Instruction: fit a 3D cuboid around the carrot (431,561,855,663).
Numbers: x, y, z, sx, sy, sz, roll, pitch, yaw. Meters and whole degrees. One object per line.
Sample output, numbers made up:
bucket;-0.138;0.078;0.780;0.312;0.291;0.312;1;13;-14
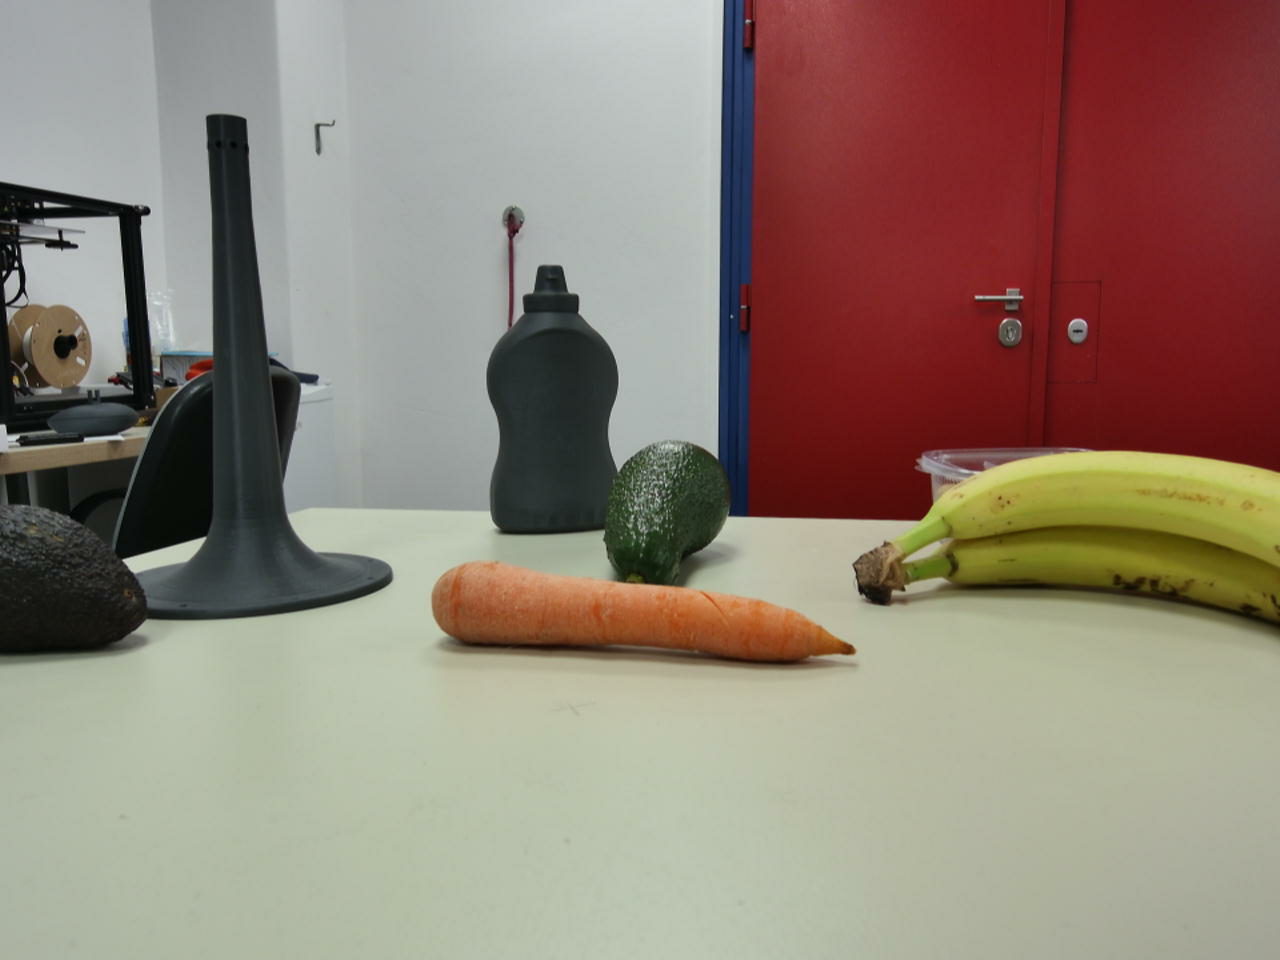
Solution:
carrot;-0.003;0.059;0.461;0.196;0.041;0.039;1;5;12
